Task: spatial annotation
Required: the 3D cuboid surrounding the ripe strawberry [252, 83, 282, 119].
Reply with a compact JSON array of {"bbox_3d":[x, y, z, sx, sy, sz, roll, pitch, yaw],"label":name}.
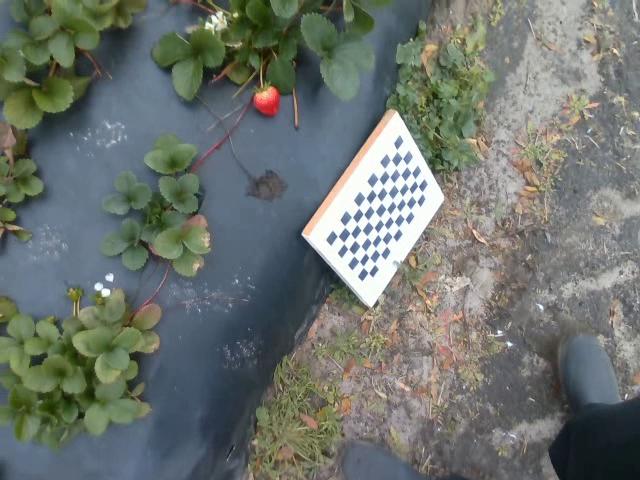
[{"bbox_3d":[-0.102,-0.270,1.249,0.049,0.062,0.065,17,-32,45],"label":"ripe strawberry"}]
